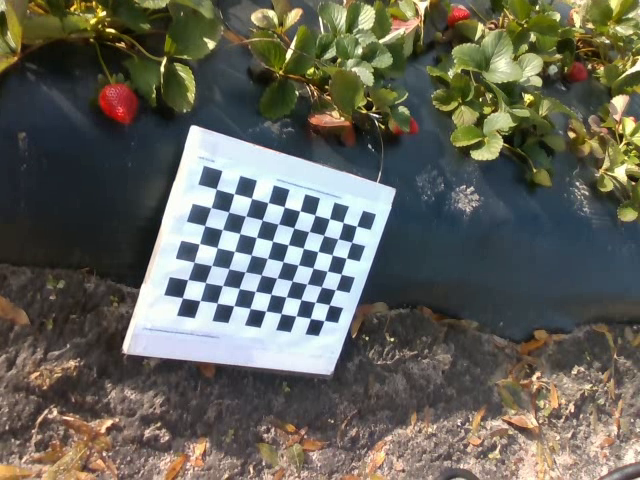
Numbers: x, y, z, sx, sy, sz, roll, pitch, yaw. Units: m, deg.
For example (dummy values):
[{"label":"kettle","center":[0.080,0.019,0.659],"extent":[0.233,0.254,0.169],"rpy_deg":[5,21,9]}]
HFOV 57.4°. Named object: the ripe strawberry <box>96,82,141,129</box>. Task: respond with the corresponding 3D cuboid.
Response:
[{"label":"ripe strawberry","center":[-0.177,-0.118,0.496],"extent":[0.041,0.047,0.041],"rpy_deg":[-14,-35,-13]}]
